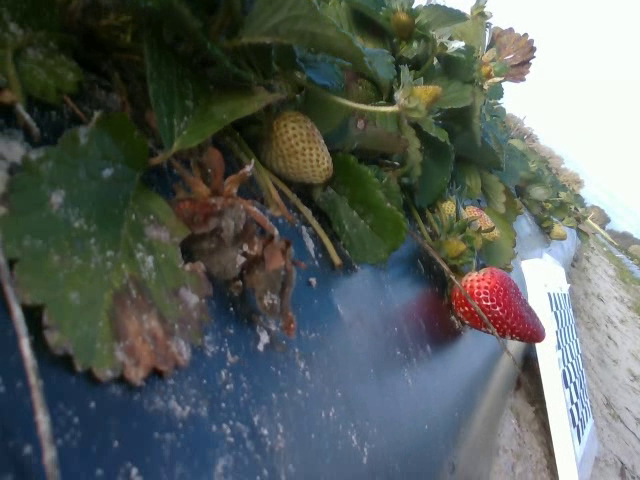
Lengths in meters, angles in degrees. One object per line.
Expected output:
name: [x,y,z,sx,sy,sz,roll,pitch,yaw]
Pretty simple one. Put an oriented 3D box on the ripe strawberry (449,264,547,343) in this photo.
ripe strawberry: [0.127,0.046,0.416,0.067,0.045,0.052,41,16,22]
